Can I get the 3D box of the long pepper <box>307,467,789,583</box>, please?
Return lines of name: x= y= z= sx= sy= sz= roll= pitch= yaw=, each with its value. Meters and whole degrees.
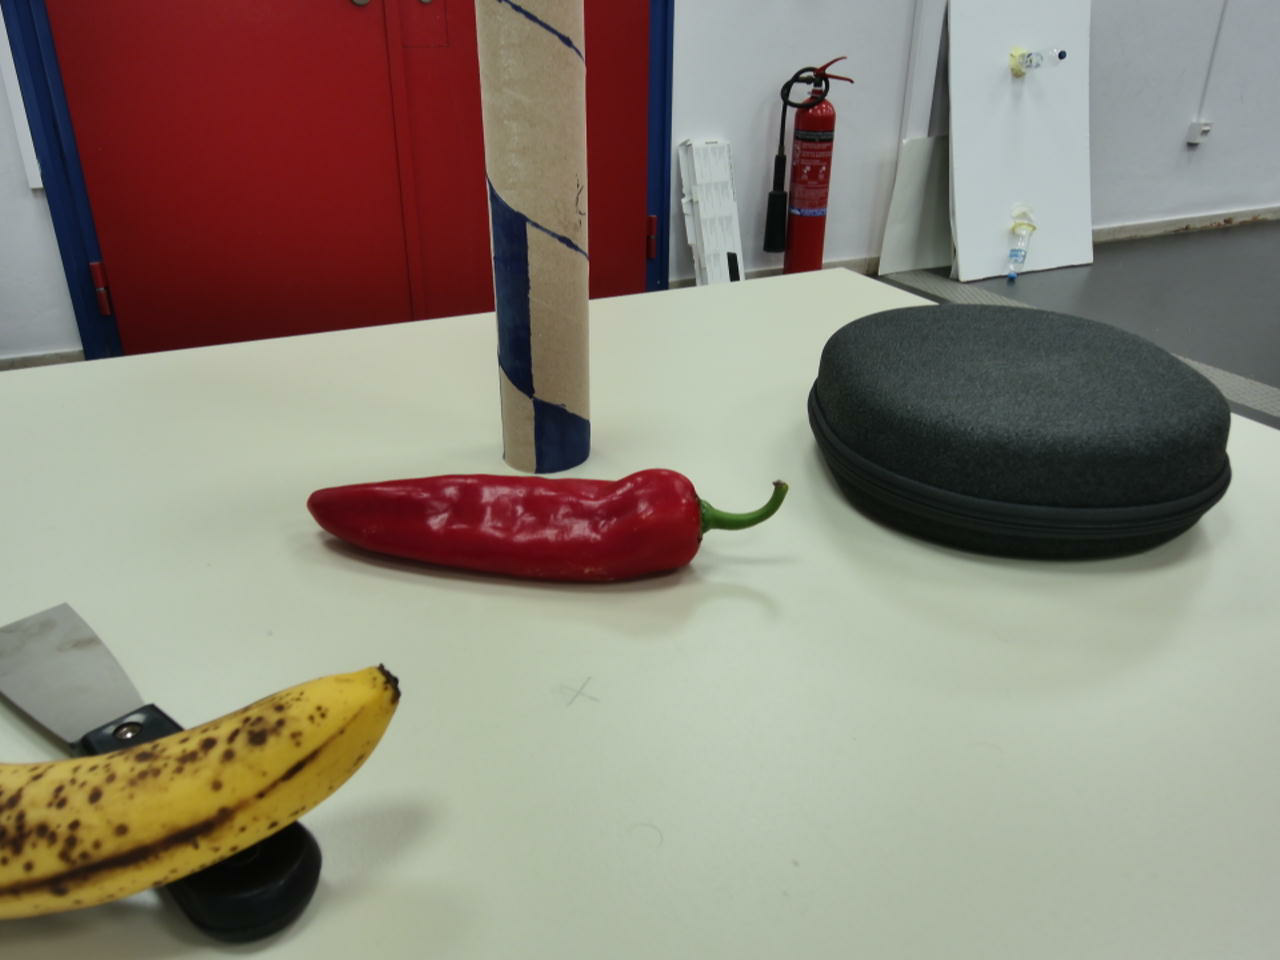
long pepper: x=-0.044 y=0.016 z=0.425 sx=0.211 sy=0.043 sz=0.050 roll=2 pitch=24 yaw=5
